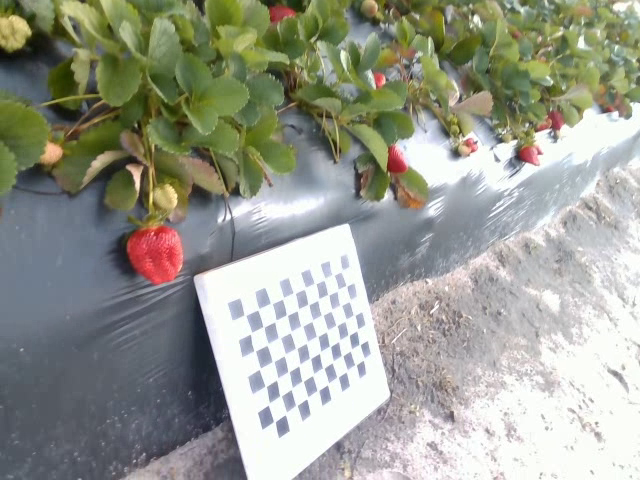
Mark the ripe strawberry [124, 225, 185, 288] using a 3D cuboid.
[{"bbox_3d":[-0.187,0.016,0.662,0.039,0.074,0.067,-12,1,43],"label":"ripe strawberry"}]
